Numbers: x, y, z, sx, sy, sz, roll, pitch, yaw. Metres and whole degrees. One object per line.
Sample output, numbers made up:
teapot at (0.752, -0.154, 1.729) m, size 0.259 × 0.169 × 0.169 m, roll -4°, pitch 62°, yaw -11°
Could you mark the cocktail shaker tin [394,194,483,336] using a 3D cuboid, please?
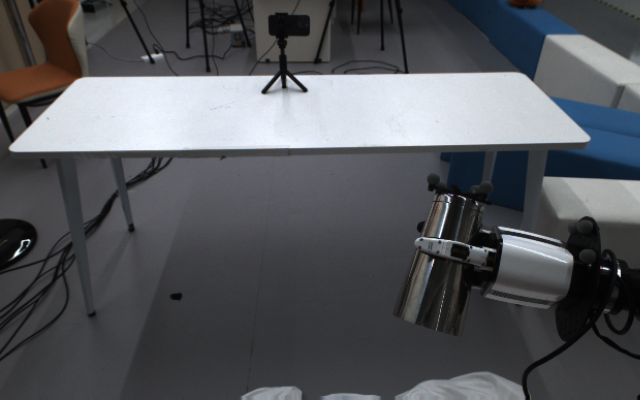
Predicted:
cocktail shaker tin at (0.162, 0.081, 0.640) m, size 0.093 × 0.170 × 0.093 m, roll 17°, pitch -7°, yaw 2°
